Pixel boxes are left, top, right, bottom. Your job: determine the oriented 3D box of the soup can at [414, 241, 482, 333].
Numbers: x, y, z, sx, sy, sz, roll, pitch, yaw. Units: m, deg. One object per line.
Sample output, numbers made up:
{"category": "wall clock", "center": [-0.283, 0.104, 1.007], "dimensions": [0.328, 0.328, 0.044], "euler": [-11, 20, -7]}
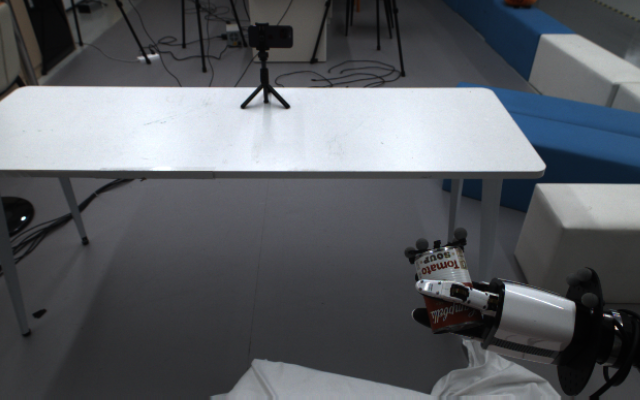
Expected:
{"category": "soup can", "center": [0.171, 0.119, 0.644], "dimensions": [0.067, 0.067, 0.101], "euler": [-6, 67, -12]}
